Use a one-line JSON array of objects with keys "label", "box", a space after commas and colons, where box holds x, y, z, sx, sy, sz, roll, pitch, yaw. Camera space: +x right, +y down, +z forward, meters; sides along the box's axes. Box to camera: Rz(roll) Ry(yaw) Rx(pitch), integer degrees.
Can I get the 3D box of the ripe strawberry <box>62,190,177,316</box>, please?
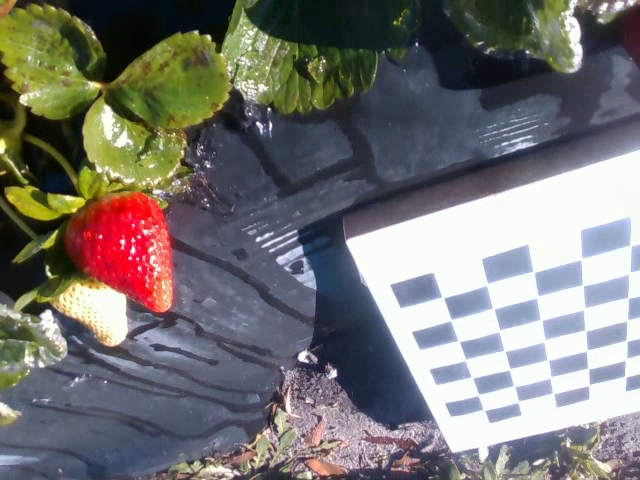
[{"label": "ripe strawberry", "box": [-0.077, 0.010, 0.275, 0.042, 0.061, 0.046, -27, 3, 22]}]
